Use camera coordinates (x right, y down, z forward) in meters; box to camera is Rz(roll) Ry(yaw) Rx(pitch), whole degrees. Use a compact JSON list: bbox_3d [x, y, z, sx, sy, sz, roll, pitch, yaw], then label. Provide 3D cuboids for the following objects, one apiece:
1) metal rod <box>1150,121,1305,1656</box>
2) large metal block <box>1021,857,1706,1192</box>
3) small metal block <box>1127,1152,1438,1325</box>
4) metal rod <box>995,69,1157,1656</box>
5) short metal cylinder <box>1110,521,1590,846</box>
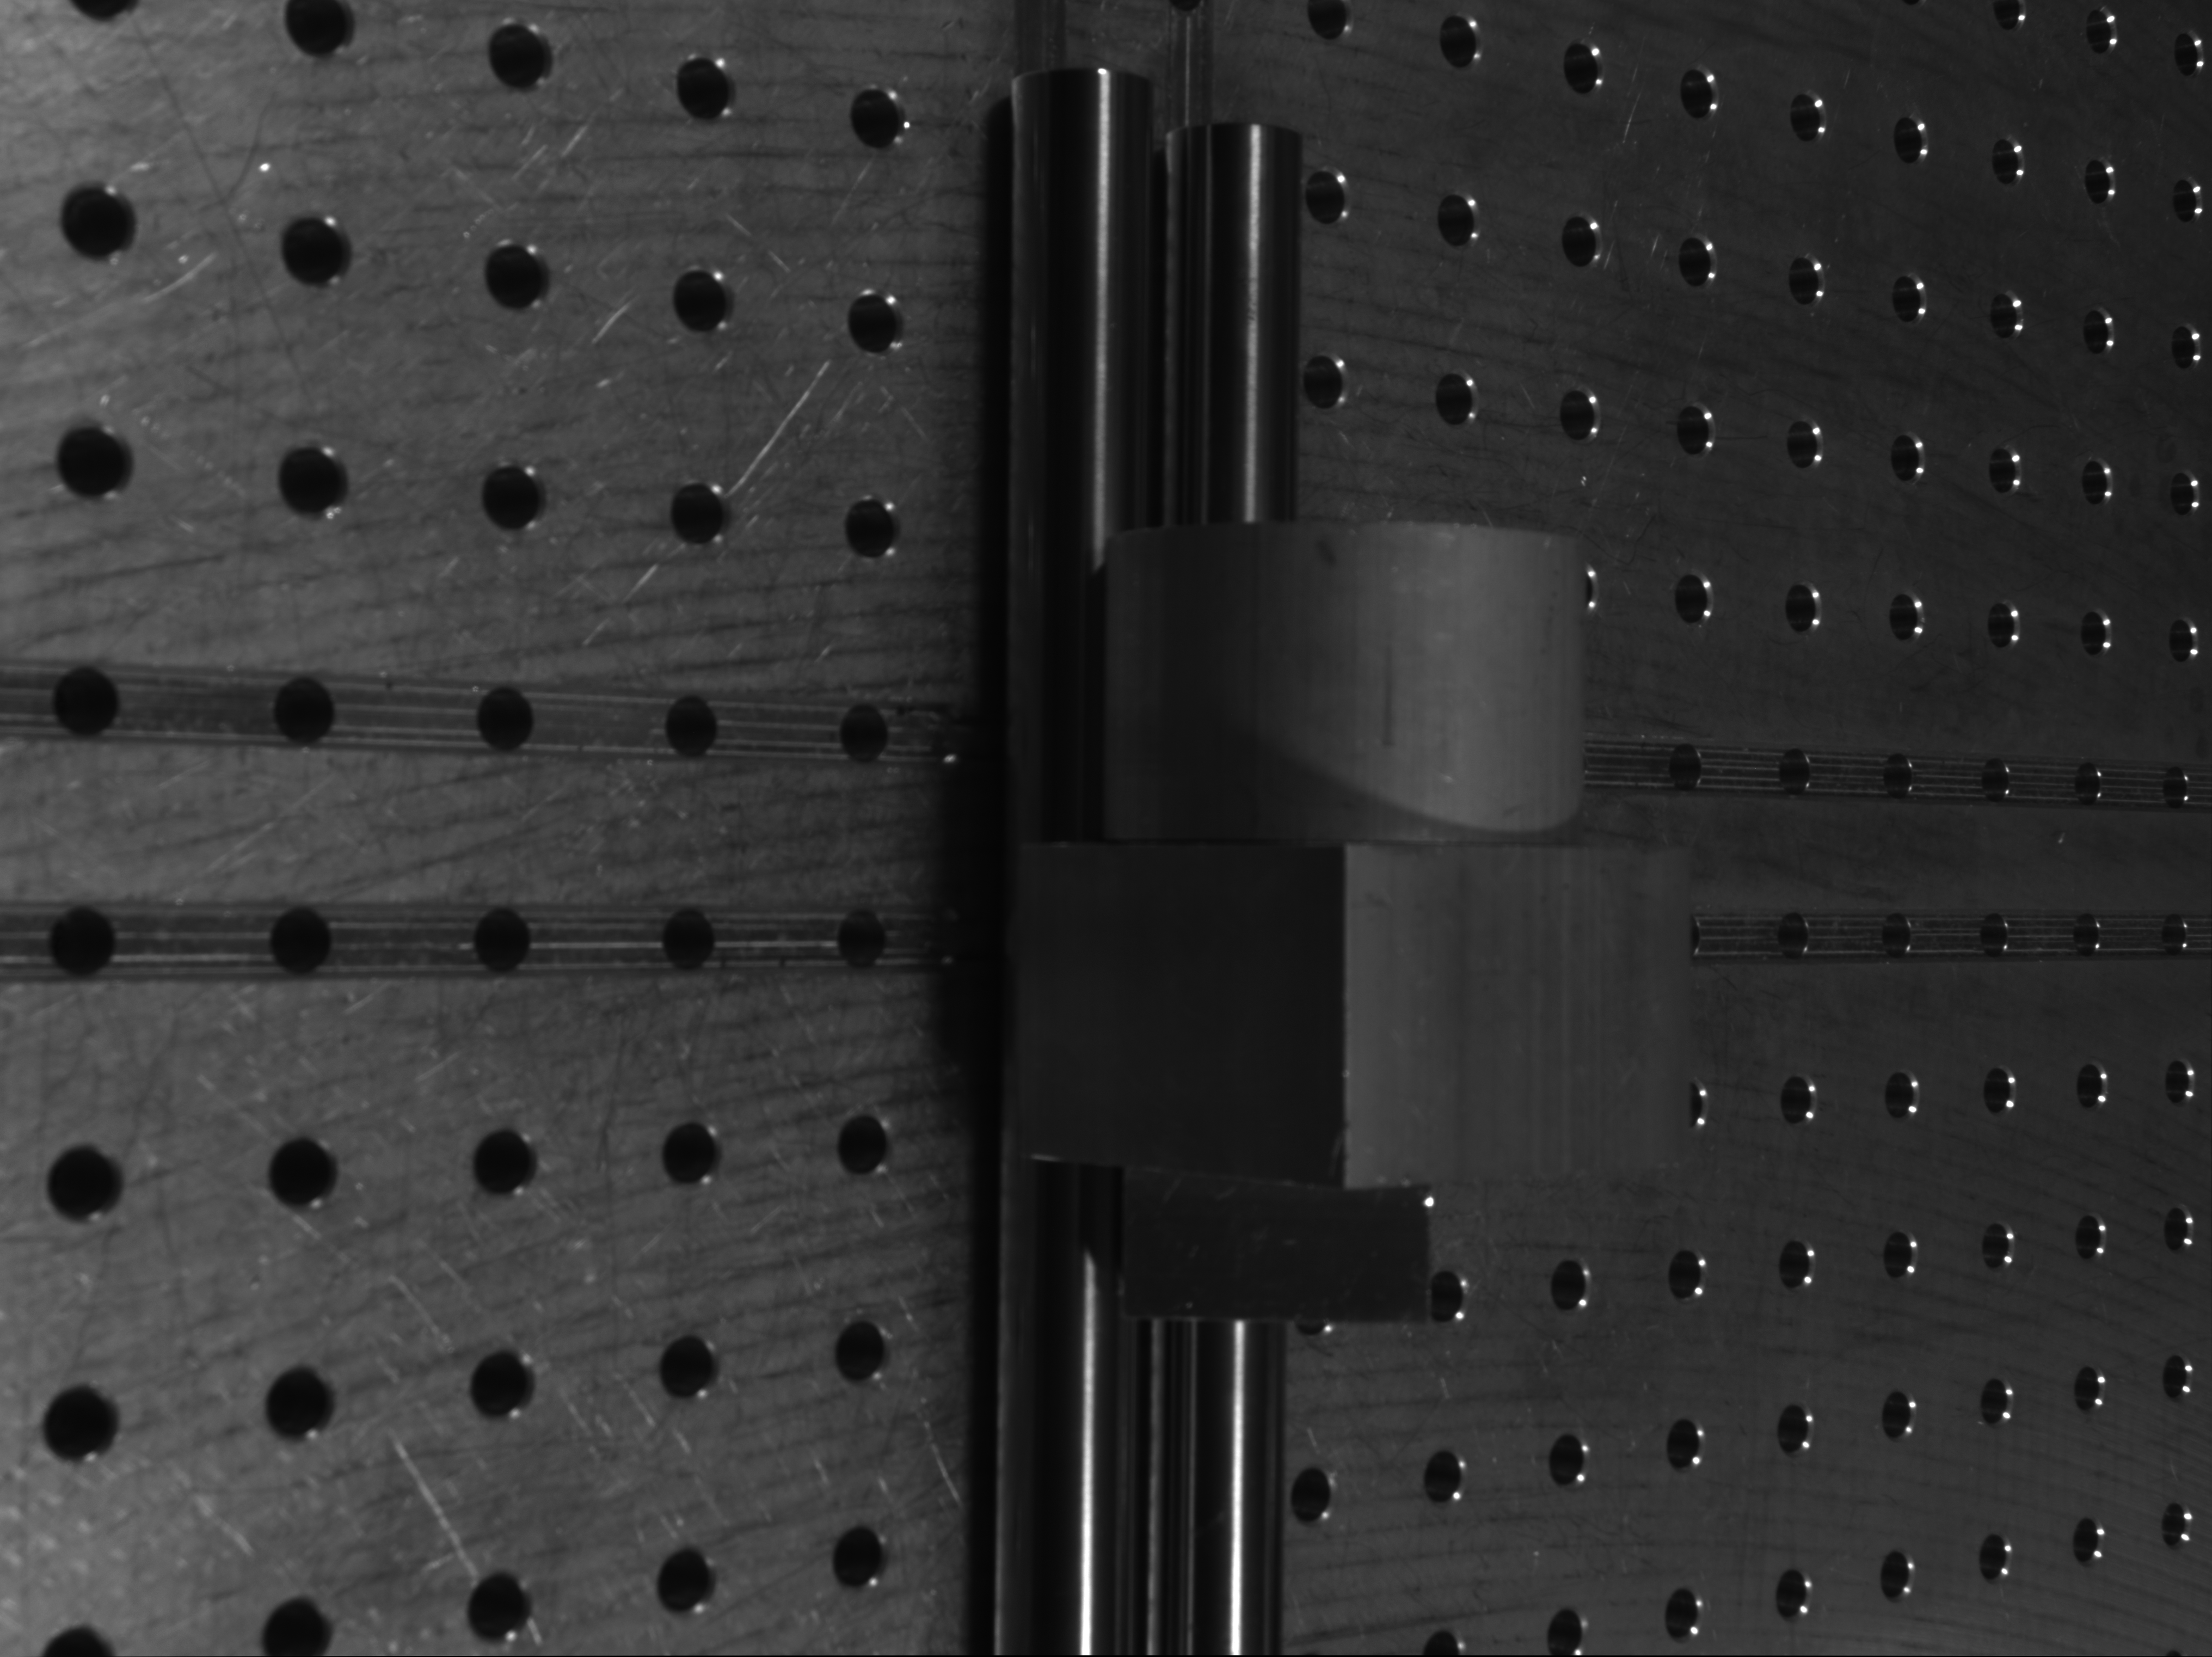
[{"bbox_3d":[0.022,0.025,0.660,0.025,0.025,0.300,1,89,-40],"label":"metal rod"},{"bbox_3d":[0.042,0.030,0.608,0.080,0.080,0.050,1,89,-40],"label":"large metal block"},{"bbox_3d":[0.031,0.068,0.620,0.050,0.050,0.025,8,83,-84],"label":"small metal block"},{"bbox_3d":[-0.005,0.020,0.637,0.025,0.025,0.300,1,89,-40],"label":"metal rod"},{"bbox_3d":[0.041,-0.023,0.611,0.080,0.080,0.050,1,89,-40],"label":"short metal cylinder"}]
